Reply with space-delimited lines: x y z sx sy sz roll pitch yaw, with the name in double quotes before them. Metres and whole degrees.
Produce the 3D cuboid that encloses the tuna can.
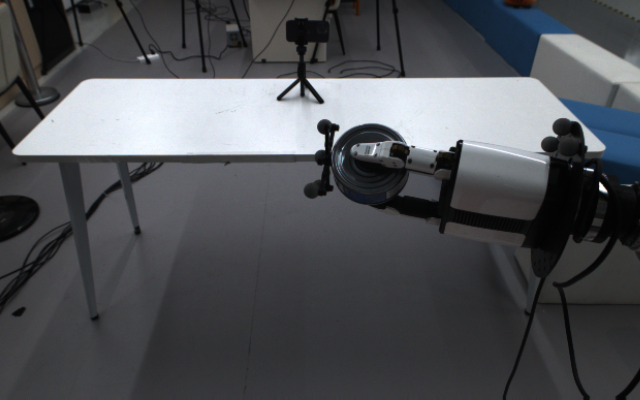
"tuna can" 0.059 -0.037 0.528 0.085 0.034 0.085 -2 68 6
